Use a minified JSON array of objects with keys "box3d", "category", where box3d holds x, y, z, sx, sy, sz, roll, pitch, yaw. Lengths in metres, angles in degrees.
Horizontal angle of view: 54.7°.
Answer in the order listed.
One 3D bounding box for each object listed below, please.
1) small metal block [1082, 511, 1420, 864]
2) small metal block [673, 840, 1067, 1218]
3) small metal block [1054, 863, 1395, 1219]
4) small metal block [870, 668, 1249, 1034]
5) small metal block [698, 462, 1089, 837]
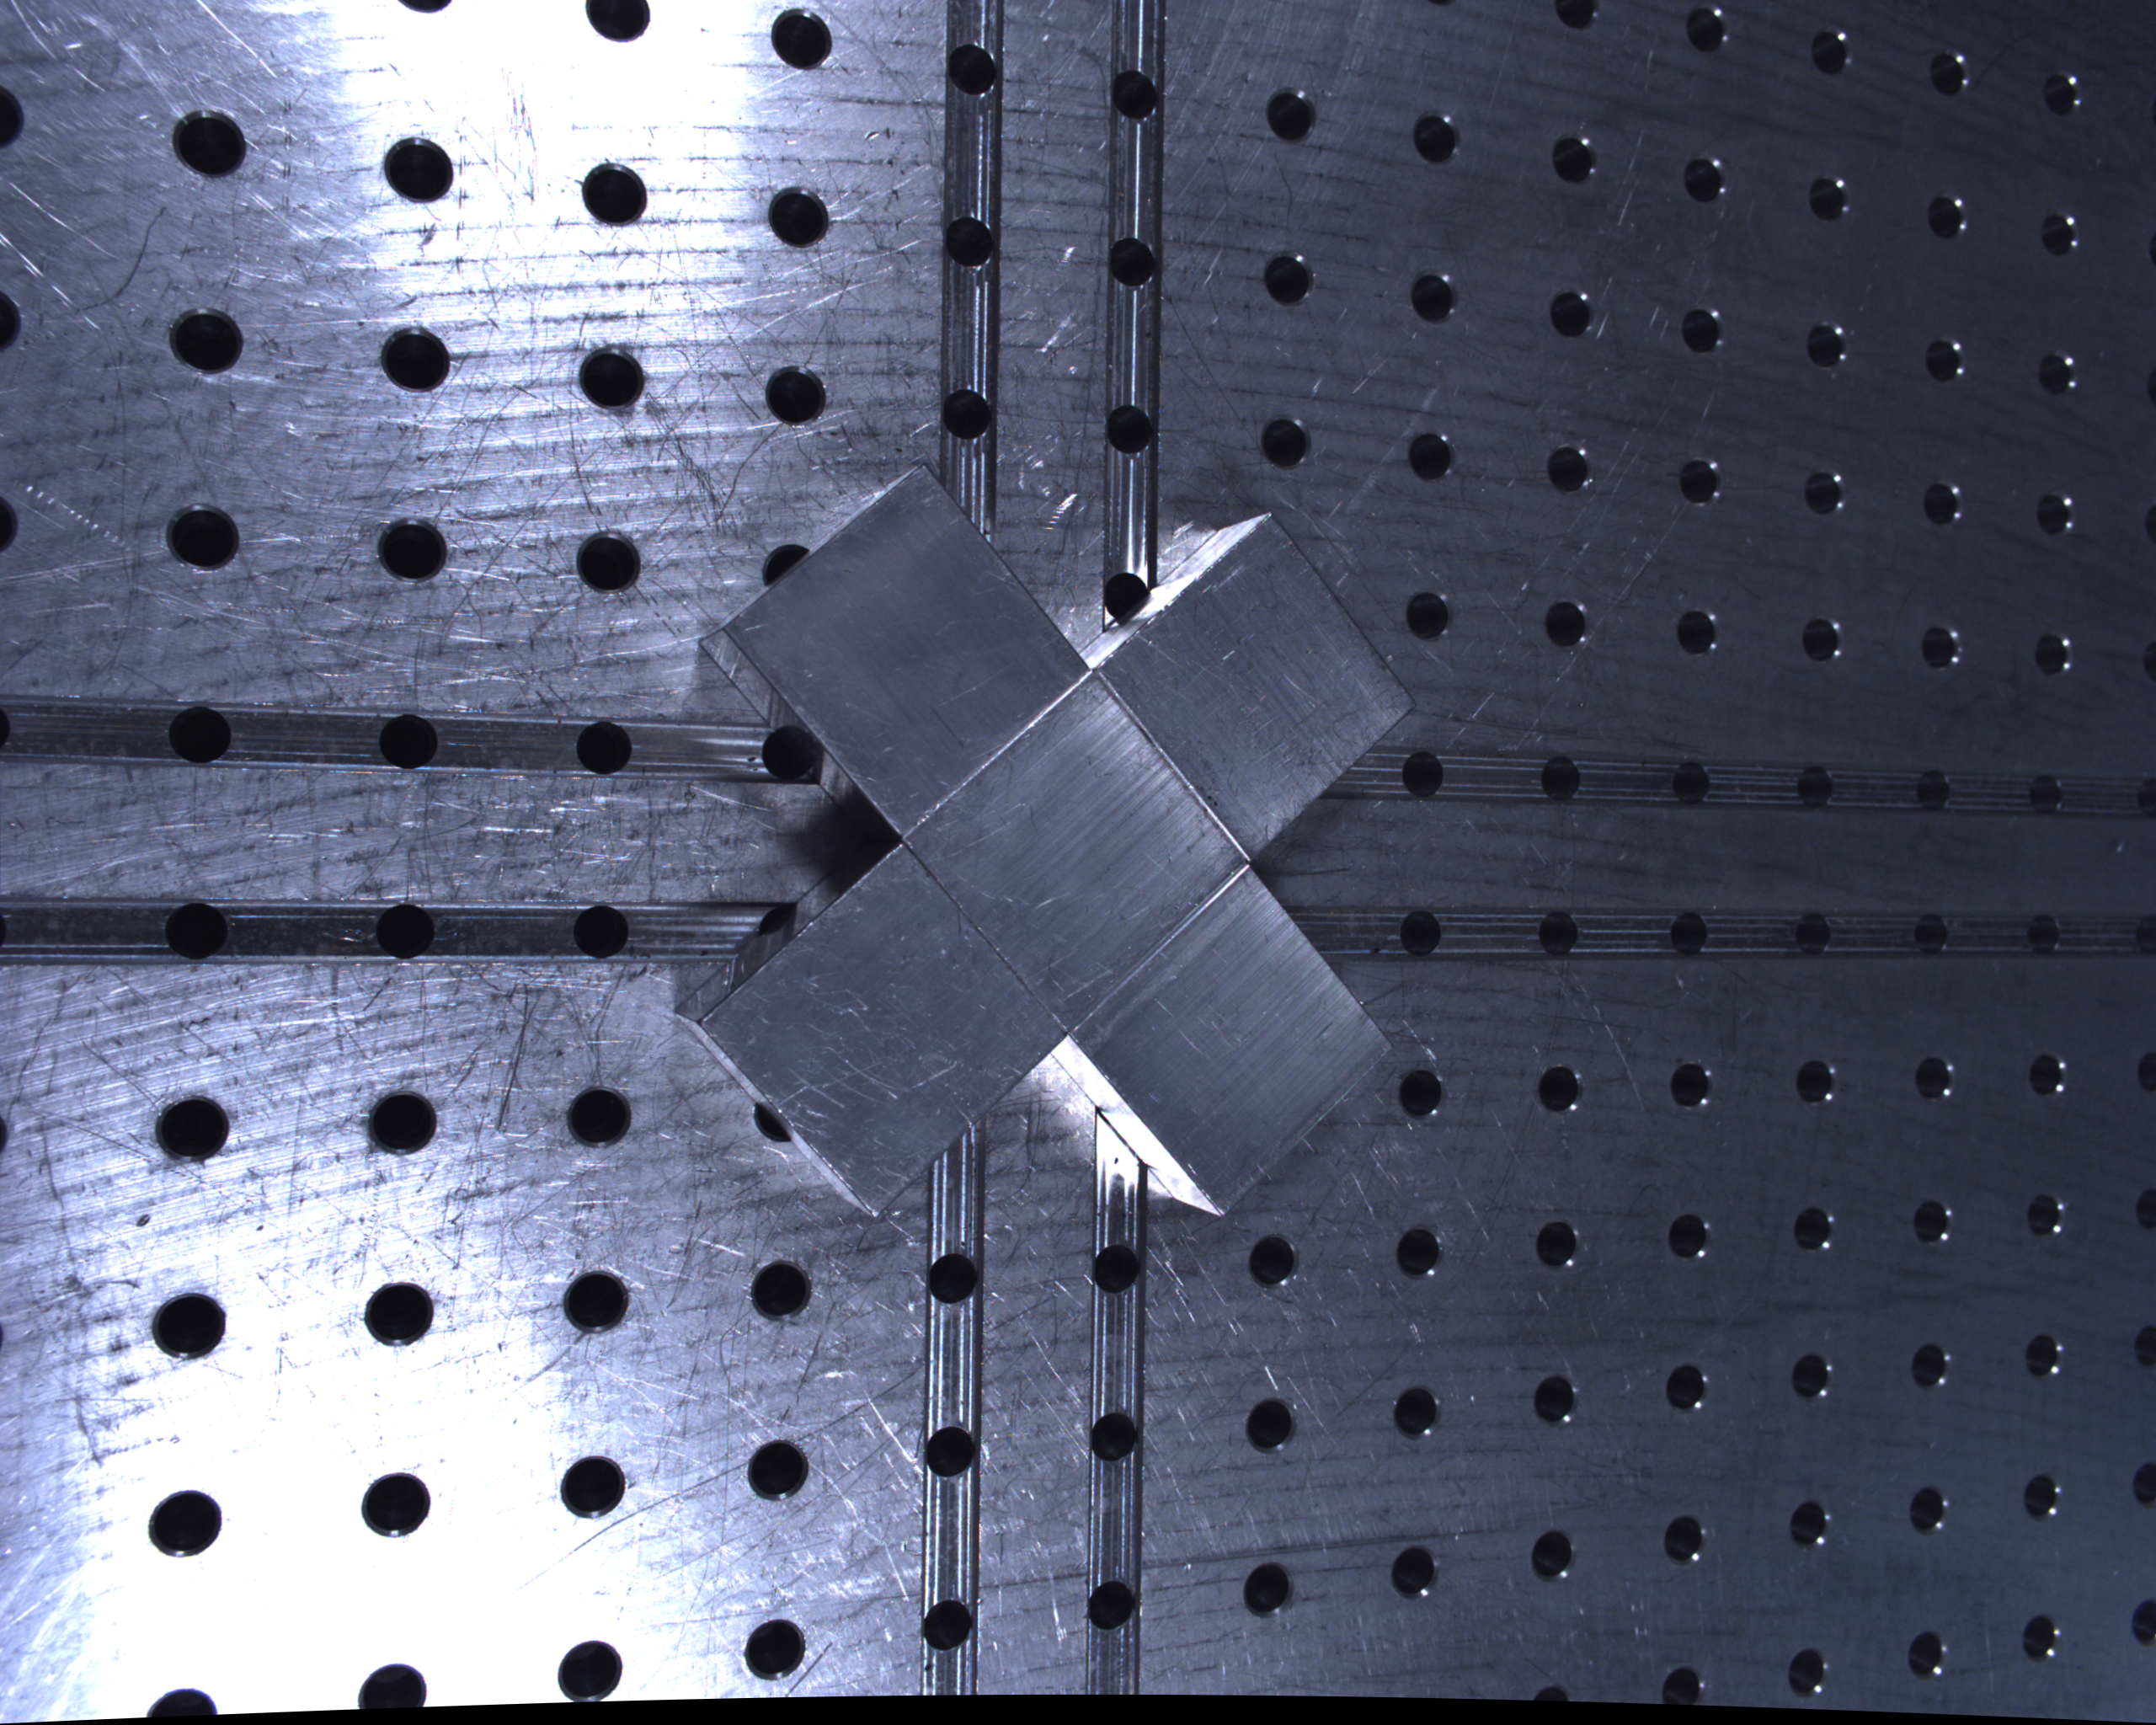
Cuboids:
[{"box3d":[0.032,-0.035,0.425,0.050,0.025,0.050,-43,104,-15],"category":"small metal block"},{"box3d":[-0.040,0.031,0.399,0.050,0.025,0.050,-43,104,-15],"category":"small metal block"},{"box3d":[0.027,0.035,0.424,0.050,0.025,0.050,-43,104,-15],"category":"small metal block"},{"box3d":[-0.004,-0.002,0.411,0.050,0.025,0.050,-43,104,-15],"category":"small metal block"},{"box3d":[-0.035,-0.040,0.400,0.050,0.025,0.050,-43,104,-15],"category":"small metal block"}]
